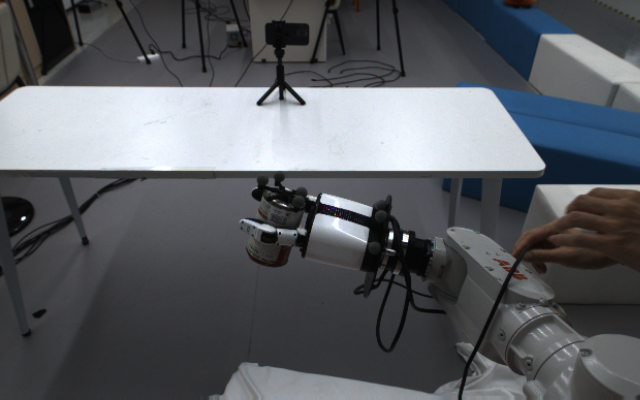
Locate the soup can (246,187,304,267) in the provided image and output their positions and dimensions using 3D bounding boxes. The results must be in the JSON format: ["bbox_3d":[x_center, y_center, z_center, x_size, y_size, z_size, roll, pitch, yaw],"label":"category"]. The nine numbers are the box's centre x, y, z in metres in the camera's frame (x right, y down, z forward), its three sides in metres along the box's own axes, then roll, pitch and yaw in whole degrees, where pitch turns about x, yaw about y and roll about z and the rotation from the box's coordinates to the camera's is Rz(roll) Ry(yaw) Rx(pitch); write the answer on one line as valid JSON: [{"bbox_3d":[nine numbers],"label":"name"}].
[{"bbox_3d":[-0.066,0.042,0.730,0.067,0.101,0.067,17,21,-7],"label":"soup can"}]
